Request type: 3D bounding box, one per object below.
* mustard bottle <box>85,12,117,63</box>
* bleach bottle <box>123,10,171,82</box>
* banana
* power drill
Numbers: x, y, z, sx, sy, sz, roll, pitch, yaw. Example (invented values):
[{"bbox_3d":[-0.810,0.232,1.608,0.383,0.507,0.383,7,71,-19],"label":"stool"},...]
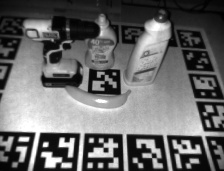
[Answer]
[{"bbox_3d":[-0.031,-0.148,0.654,0.096,0.192,0.058,3,57,-6],"label":"mustard bottle"},{"bbox_3d":[0.100,-0.104,0.620,0.103,0.251,0.067,-5,59,-10],"label":"bleach bottle"},{"bbox_3d":[-0.034,0.013,0.639,0.198,0.039,0.074,5,61,-3],"label":"banana"},{"bbox_3d":[-0.131,-0.112,0.594,0.185,0.187,0.057,1,50,-10],"label":"power drill"}]
